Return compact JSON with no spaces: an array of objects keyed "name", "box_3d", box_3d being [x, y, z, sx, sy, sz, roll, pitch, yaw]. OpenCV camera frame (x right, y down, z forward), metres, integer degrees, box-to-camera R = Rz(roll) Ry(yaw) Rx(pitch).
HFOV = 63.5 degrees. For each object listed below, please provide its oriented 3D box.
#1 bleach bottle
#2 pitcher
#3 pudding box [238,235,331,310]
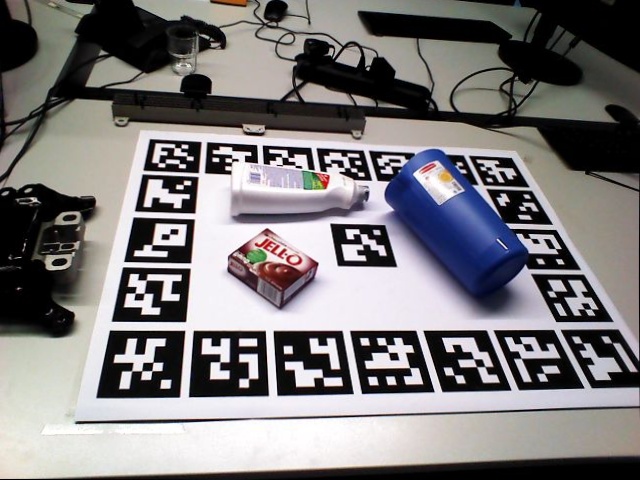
[{"name":"bleach bottle","box_3d":[-0.010,-0.082,0.915,0.250,0.068,0.102,1,50,-12]},{"name":"pitcher","box_3d":[0.259,-0.010,0.866,0.188,0.134,0.242,12,37,-50]},{"name":"pudding box","box_3d":[-0.055,0.045,0.791,0.114,0.039,0.089,36,45,22]}]
